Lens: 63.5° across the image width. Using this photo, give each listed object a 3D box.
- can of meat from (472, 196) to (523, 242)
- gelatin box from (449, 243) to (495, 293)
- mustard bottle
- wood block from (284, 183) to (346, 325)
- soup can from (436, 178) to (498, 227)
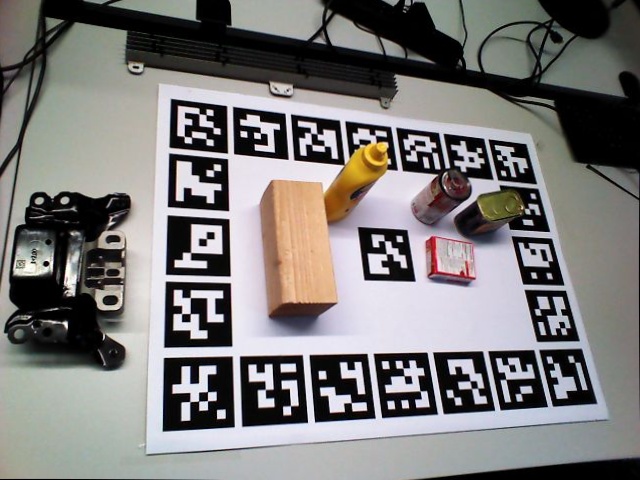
[{"bbox_3d":[0.353,-0.040,0.983,0.101,0.084,0.057,-11,73,-26],"label":"can of meat"},{"bbox_3d":[0.280,0.051,0.944,0.089,0.030,0.073,12,67,-12],"label":"gelatin box"},{"bbox_3d":[0.092,-0.087,0.853,0.096,0.193,0.058,-24,77,-28],"label":"mustard bottle"},{"bbox_3d":[-0.008,0.023,0.825,0.091,0.090,0.205,4,63,-20],"label":"wood block"},{"bbox_3d":[0.265,-0.073,0.944,0.068,0.103,0.067,6,68,-17],"label":"soup can"}]
